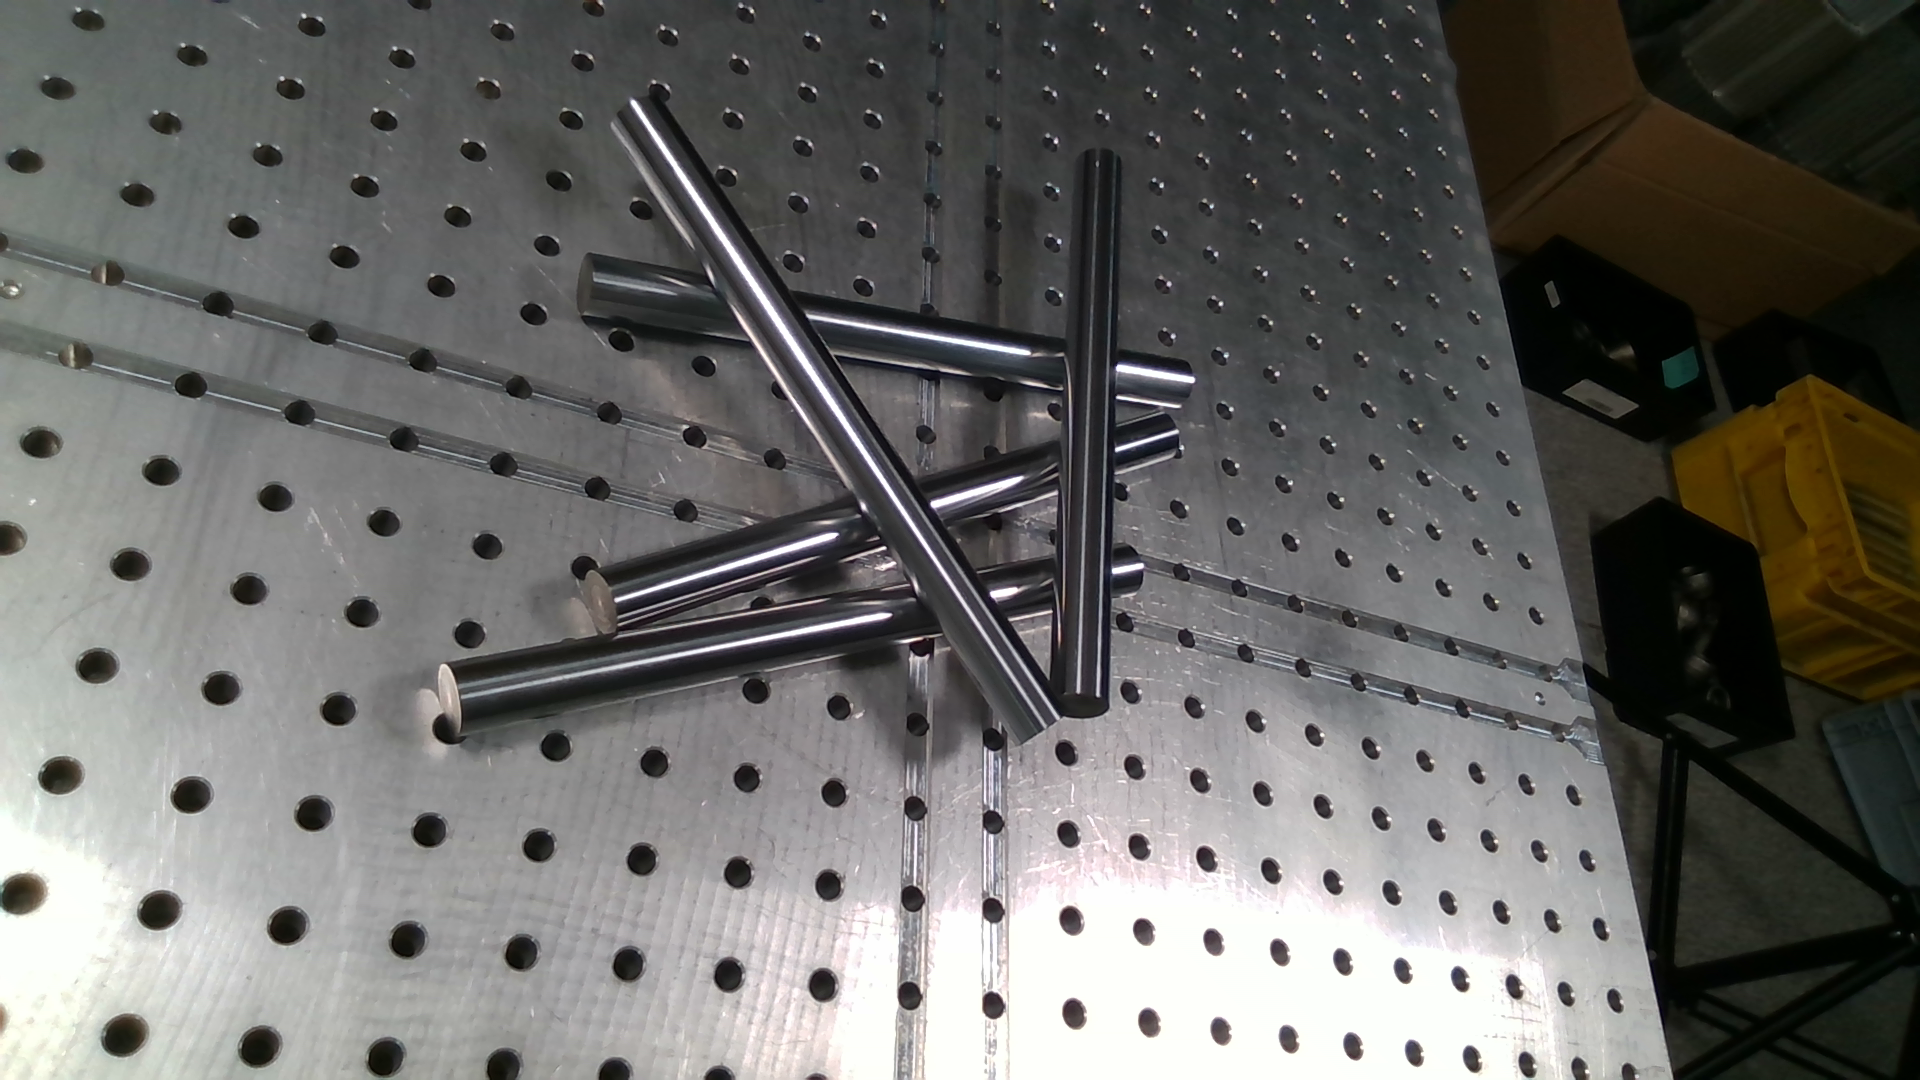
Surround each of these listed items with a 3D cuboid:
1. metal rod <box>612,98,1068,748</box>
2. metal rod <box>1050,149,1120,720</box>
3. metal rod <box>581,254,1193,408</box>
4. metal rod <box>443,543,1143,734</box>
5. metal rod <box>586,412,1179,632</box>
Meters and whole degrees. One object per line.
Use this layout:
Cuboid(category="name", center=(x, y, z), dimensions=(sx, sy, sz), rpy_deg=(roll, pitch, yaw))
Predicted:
Cuboid(category="metal rod", center=(-0.050, -0.050, 0.552), dimensions=(0.025, 0.025, 0.300), rpy_deg=(-29, 82, -39))
Cuboid(category="metal rod", center=(0.058, -0.062, 0.626), dimensions=(0.025, 0.025, 0.299), rpy_deg=(19, 57, -22))
Cuboid(category="metal rod", center=(-0.020, -0.091, 0.625), dimensions=(0.300, 0.025, 0.025), rpy_deg=(5, 63, -30))
Cuboid(category="metal rod", center=(-0.047, 0.033, 0.542), dimensions=(0.300, 0.025, 0.025), rpy_deg=(-9, 70, -35))
Cuboid(category="metal rod", center=(-0.015, -0.015, 0.587), dimensions=(0.300, 0.025, 0.025), rpy_deg=(-18, 76, -37))
